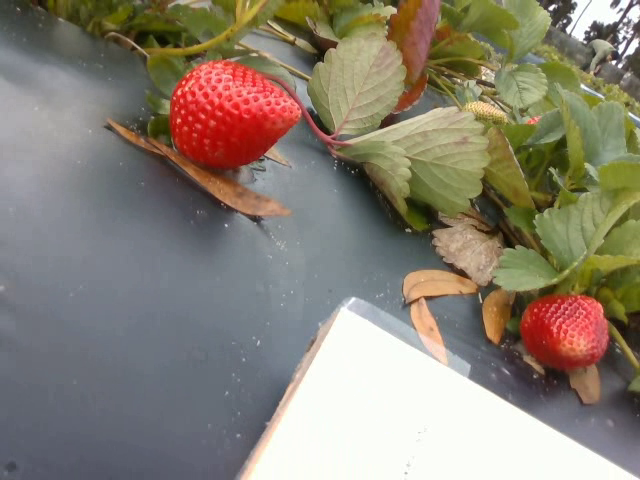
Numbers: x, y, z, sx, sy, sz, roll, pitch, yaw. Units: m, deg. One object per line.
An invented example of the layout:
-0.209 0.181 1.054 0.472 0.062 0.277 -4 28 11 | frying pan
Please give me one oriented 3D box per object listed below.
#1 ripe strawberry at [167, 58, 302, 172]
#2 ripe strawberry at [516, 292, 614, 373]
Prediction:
-0.029 -0.047 0.232 0.065 0.046 0.043 8 -37 44 | ripe strawberry
0.100 0.038 0.237 0.041 0.037 0.042 41 13 2 | ripe strawberry
